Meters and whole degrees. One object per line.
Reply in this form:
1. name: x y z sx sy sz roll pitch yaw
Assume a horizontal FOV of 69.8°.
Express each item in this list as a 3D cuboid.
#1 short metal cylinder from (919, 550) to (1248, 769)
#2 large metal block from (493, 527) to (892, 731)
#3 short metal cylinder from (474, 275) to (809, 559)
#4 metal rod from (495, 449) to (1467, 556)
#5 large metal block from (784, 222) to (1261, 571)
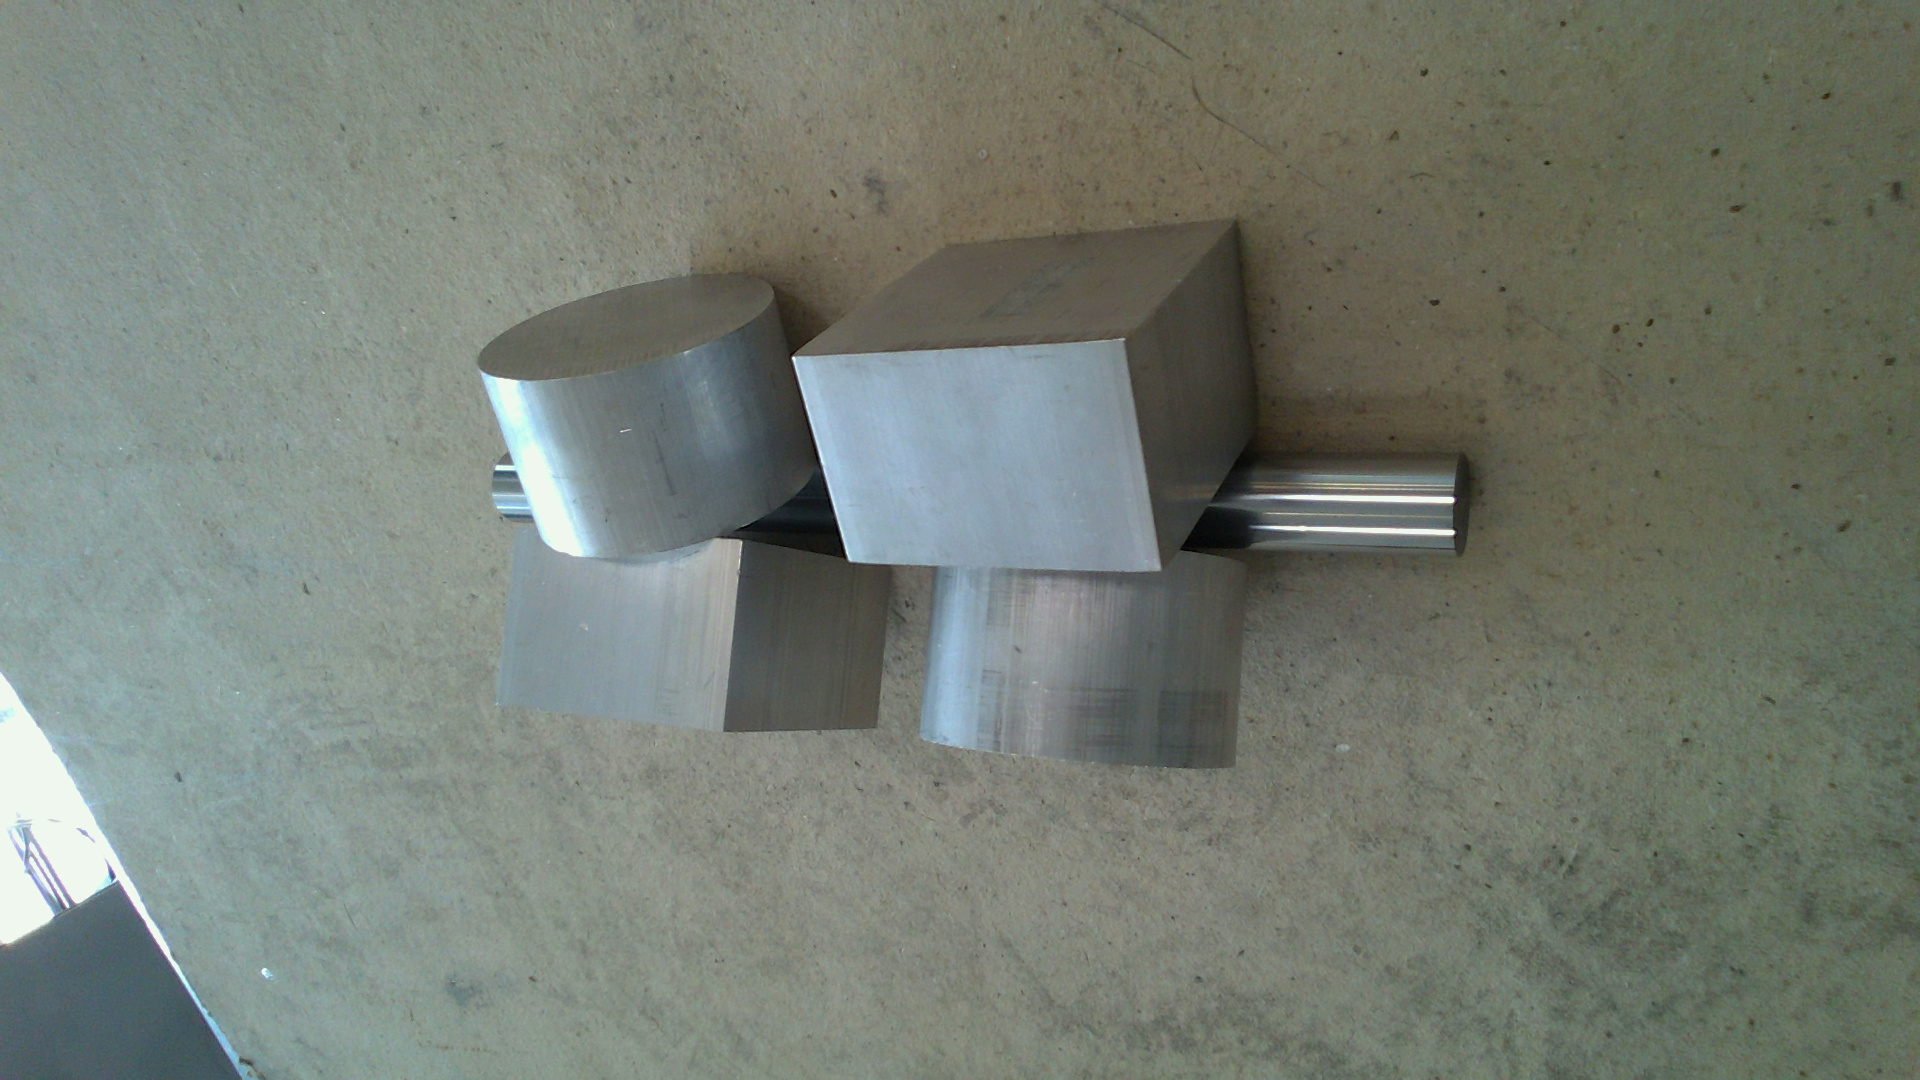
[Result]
1. short metal cylinder: 0.031 0.029 0.350 0.080 0.080 0.050 2 84 28
2. large metal block: -0.076 0.026 0.407 0.080 0.080 0.050 2 85 27
3. short metal cylinder: -0.086 -0.036 0.381 0.080 0.080 0.050 3 120 27
4. metal rod: -0.014 -0.014 0.394 0.299 0.025 0.025 2 120 27
5. large metal block: 0.019 -0.035 0.325 0.080 0.080 0.050 1 119 28
